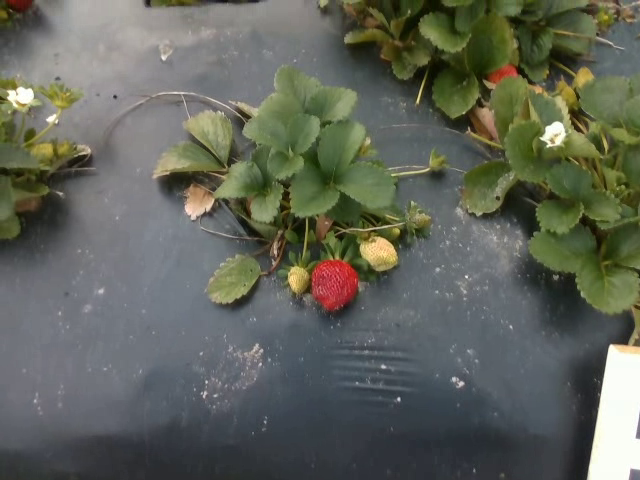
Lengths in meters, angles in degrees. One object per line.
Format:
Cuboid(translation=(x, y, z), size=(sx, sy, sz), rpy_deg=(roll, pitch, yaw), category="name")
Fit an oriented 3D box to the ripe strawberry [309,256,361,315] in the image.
Cuboid(translation=(0.012, 0.044, 0.497), size=(0.046, 0.046, 0.059), rpy_deg=(1, 32, 10), category="ripe strawberry")
